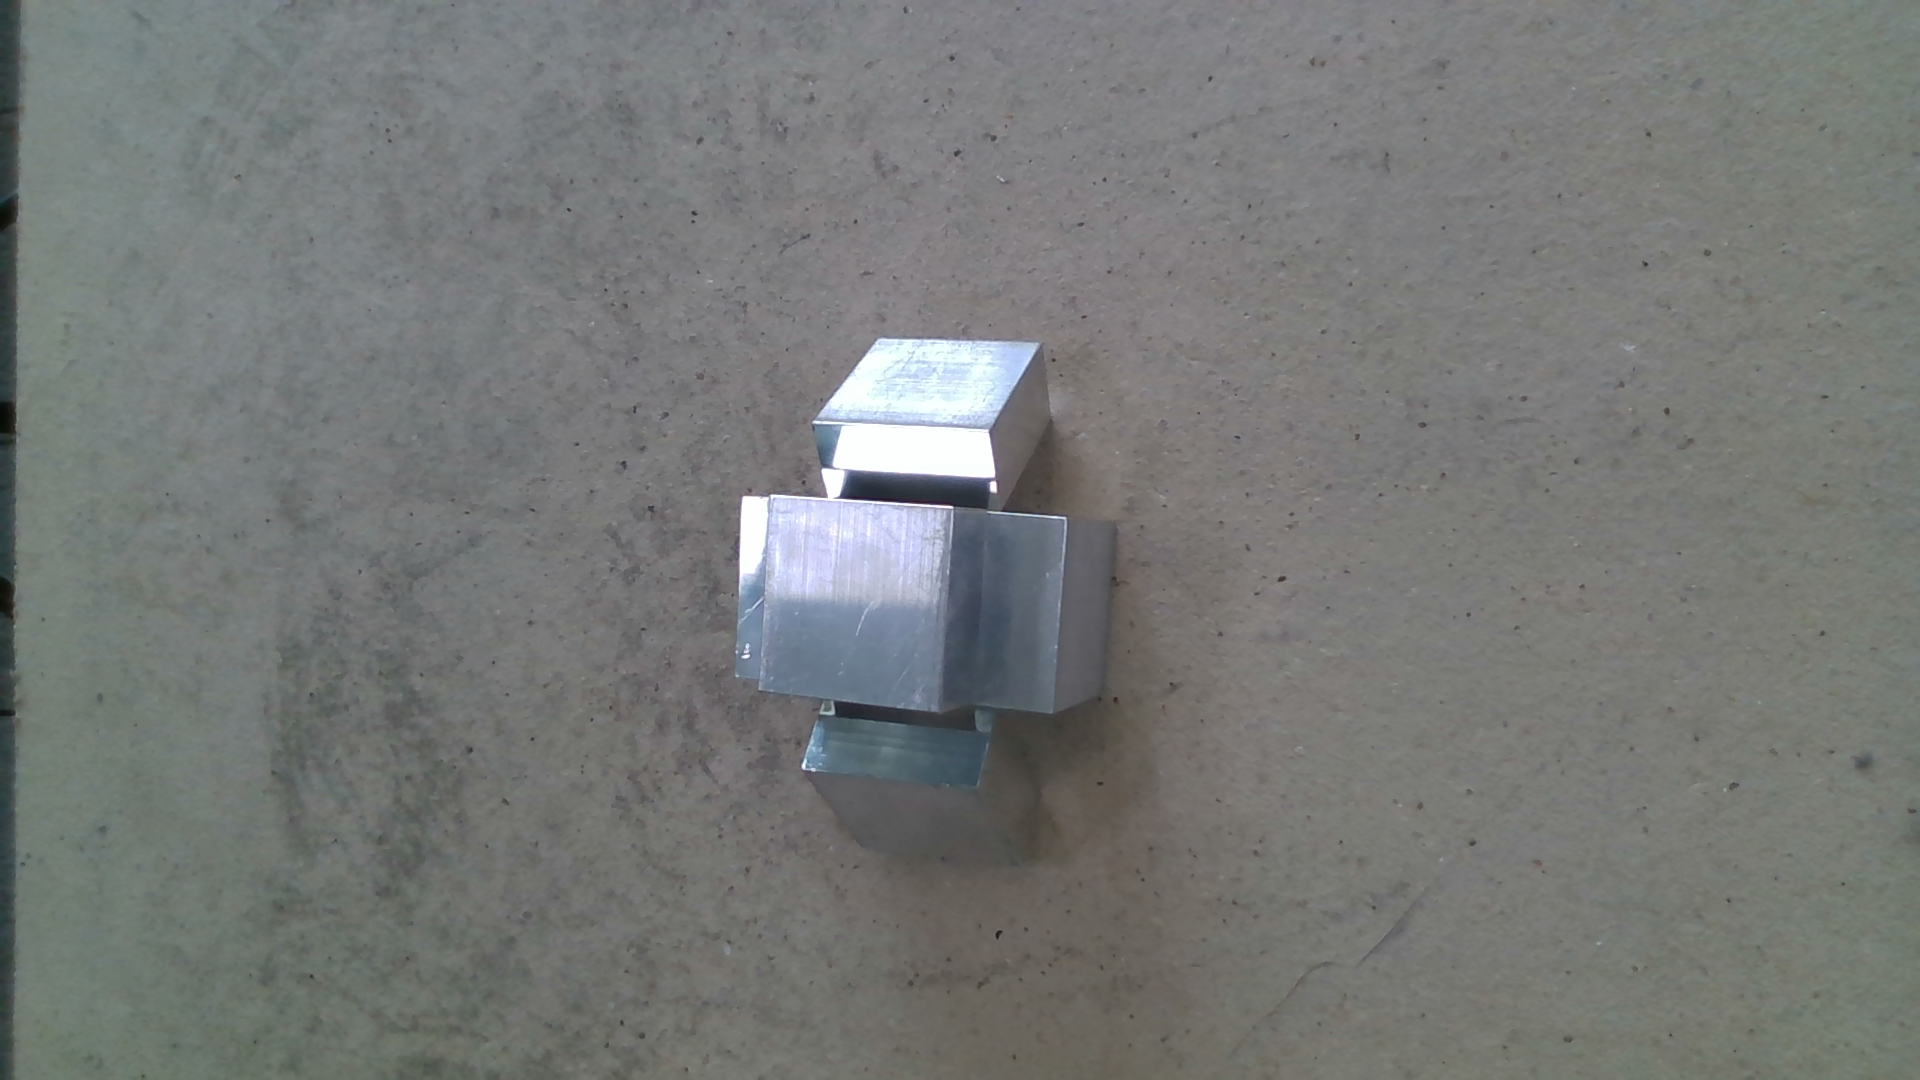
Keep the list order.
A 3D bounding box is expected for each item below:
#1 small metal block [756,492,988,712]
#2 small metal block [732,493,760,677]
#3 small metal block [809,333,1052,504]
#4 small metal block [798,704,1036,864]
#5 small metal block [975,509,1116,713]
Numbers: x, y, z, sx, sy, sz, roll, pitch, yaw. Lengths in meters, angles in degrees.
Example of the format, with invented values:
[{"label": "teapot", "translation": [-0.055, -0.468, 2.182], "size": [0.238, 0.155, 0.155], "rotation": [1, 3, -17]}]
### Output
[{"label": "small metal block", "translation": [-0.022, 0.015, 0.350], "size": [0.050, 0.025, 0.050], "rotation": [4, 92, 20]}, {"label": "small metal block", "translation": [-0.041, 0.013, 0.396], "size": [0.025, 0.050, 0.050], "rotation": [3, 91, 20]}, {"label": "small metal block", "translation": [-0.007, -0.034, 0.381], "size": [0.050, 0.050, 0.025], "rotation": [5, 127, 20]}, {"label": "small metal block", "translation": [-0.010, 0.065, 0.383], "size": [0.050, 0.050, 0.025], "rotation": [2, 55, 20]}, {"label": "small metal block", "translation": [0.022, 0.018, 0.373], "size": [0.025, 0.050, 0.050], "rotation": [5, 92, 21]}]
